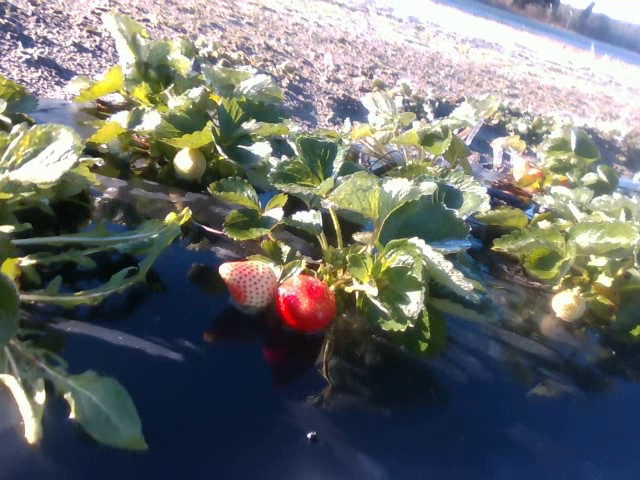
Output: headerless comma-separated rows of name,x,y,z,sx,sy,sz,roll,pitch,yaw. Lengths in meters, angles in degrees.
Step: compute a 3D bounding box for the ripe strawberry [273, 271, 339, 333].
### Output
ripe strawberry,-0.007,0.035,0.357,0.040,0.037,0.055,-14,-15,-2
